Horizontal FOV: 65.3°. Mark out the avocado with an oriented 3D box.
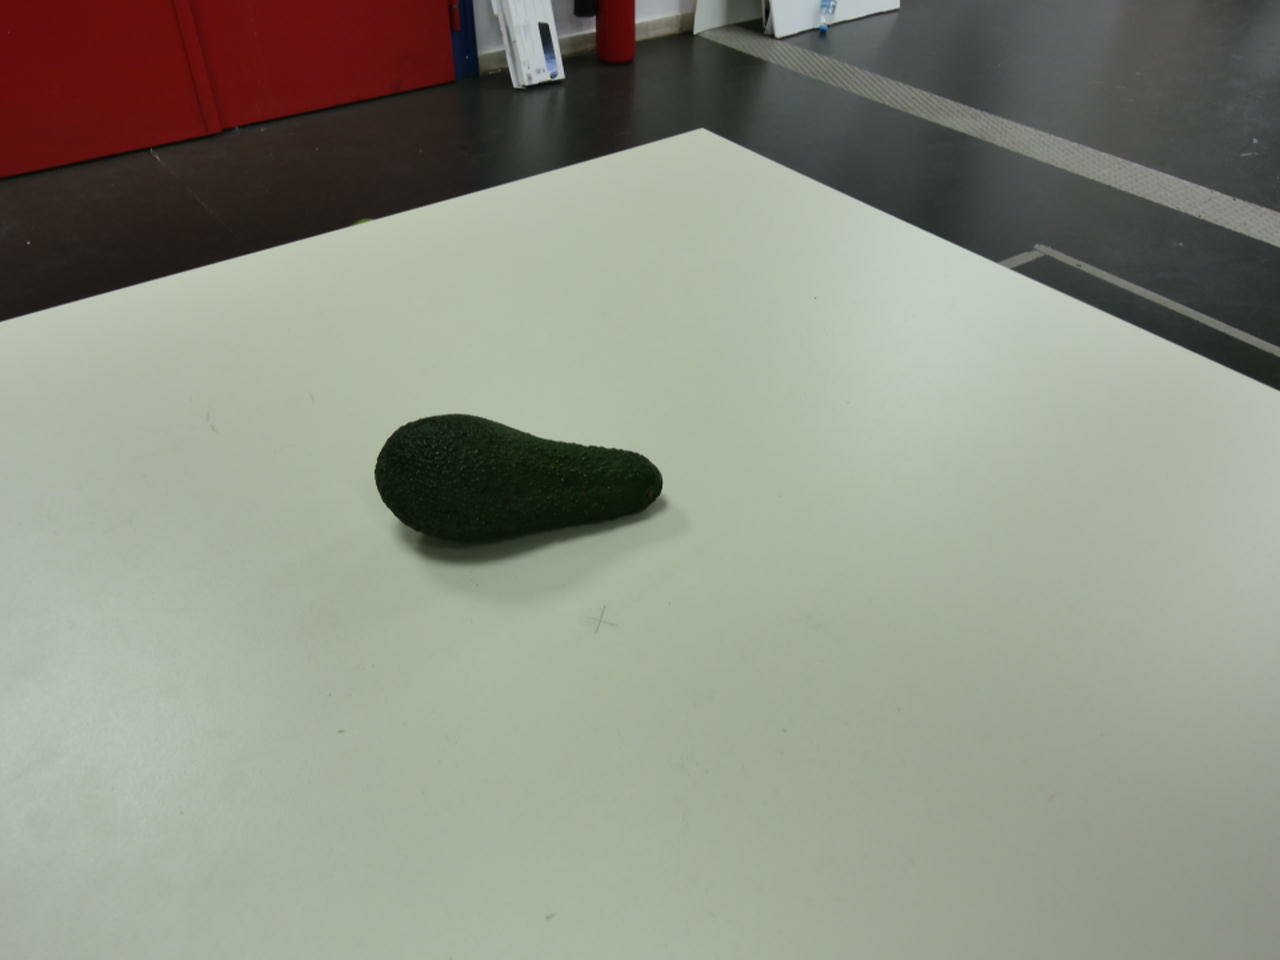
[{"bbox_3d":[-0.059,-0.009,0.497,0.141,0.067,0.063,-14,40,-18],"label":"avocado"}]
